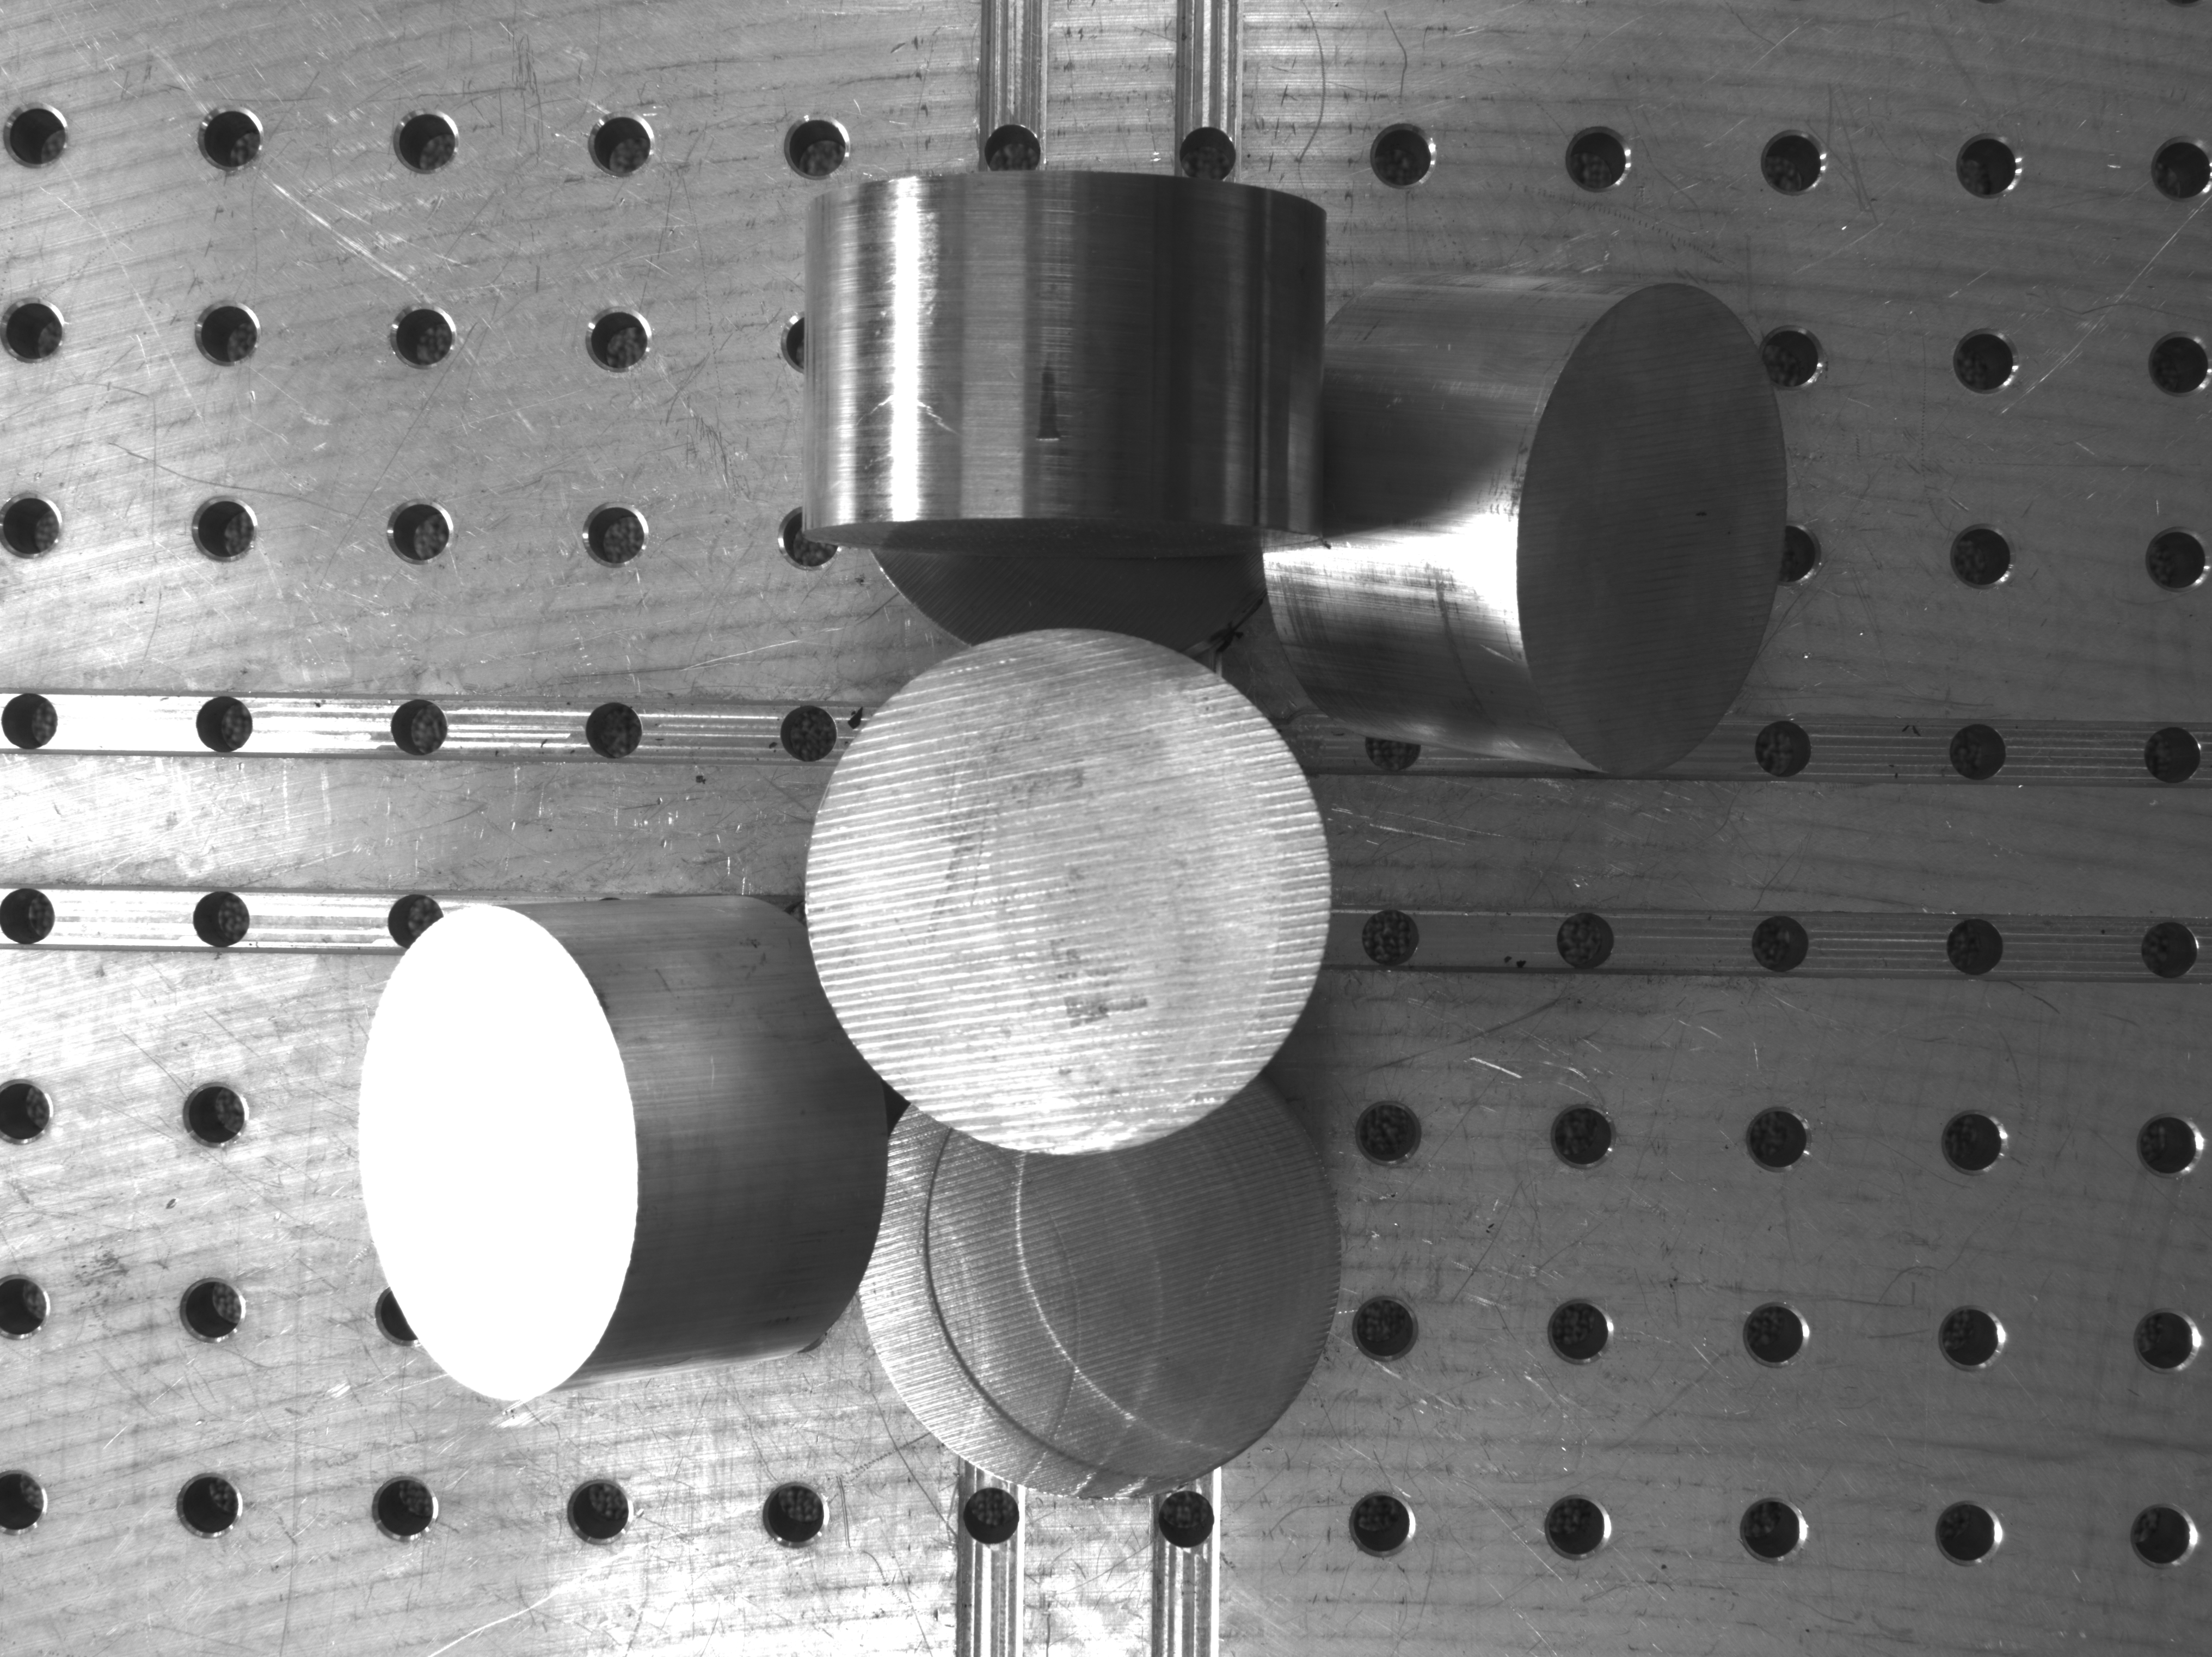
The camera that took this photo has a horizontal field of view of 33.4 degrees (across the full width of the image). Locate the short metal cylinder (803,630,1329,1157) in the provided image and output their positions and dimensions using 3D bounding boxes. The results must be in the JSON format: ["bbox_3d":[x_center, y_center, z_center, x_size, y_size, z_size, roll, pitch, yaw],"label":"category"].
[{"bbox_3d":[-0.006,0.010,0.585,0.080,0.050,0.080,0,90,0],"label":"short metal cylinder"}]

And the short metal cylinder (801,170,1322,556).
[{"bbox_3d":[-0.007,-0.069,0.569,0.080,0.080,0.050,0,90,0],"label":"short metal cylinder"}]

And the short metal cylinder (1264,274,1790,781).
[{"bbox_3d":[0.071,-0.051,0.614,0.050,0.080,0.080,11,90,41],"label":"short metal cylinder"}]

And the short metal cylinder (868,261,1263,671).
[{"bbox_3d":[-0.004,-0.065,0.635,0.080,0.050,0.080,0,90,0],"label":"short metal cylinder"}]

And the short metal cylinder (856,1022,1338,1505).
[{"bbox_3d":[-0.001,0.072,0.635,0.080,0.050,0.080,0,91,0],"label":"short metal cylinder"}]

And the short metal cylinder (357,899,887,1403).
[{"bbox_3d":[-0.082,0.053,0.615,0.050,0.080,0.080,-2,90,-44],"label":"short metal cylinder"}]
